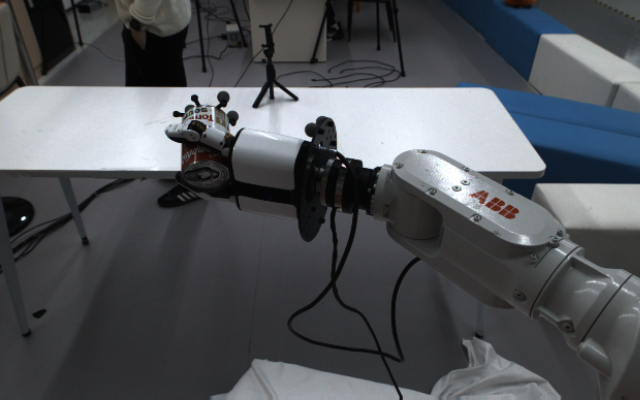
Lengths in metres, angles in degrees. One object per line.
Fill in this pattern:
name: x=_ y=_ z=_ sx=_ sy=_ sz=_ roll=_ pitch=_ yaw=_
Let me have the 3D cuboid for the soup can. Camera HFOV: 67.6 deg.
soup can: x=-0.154 y=-0.070 z=0.659 sx=0.067 sy=0.067 sz=0.101 roll=-5 pitch=57 yaw=-10
